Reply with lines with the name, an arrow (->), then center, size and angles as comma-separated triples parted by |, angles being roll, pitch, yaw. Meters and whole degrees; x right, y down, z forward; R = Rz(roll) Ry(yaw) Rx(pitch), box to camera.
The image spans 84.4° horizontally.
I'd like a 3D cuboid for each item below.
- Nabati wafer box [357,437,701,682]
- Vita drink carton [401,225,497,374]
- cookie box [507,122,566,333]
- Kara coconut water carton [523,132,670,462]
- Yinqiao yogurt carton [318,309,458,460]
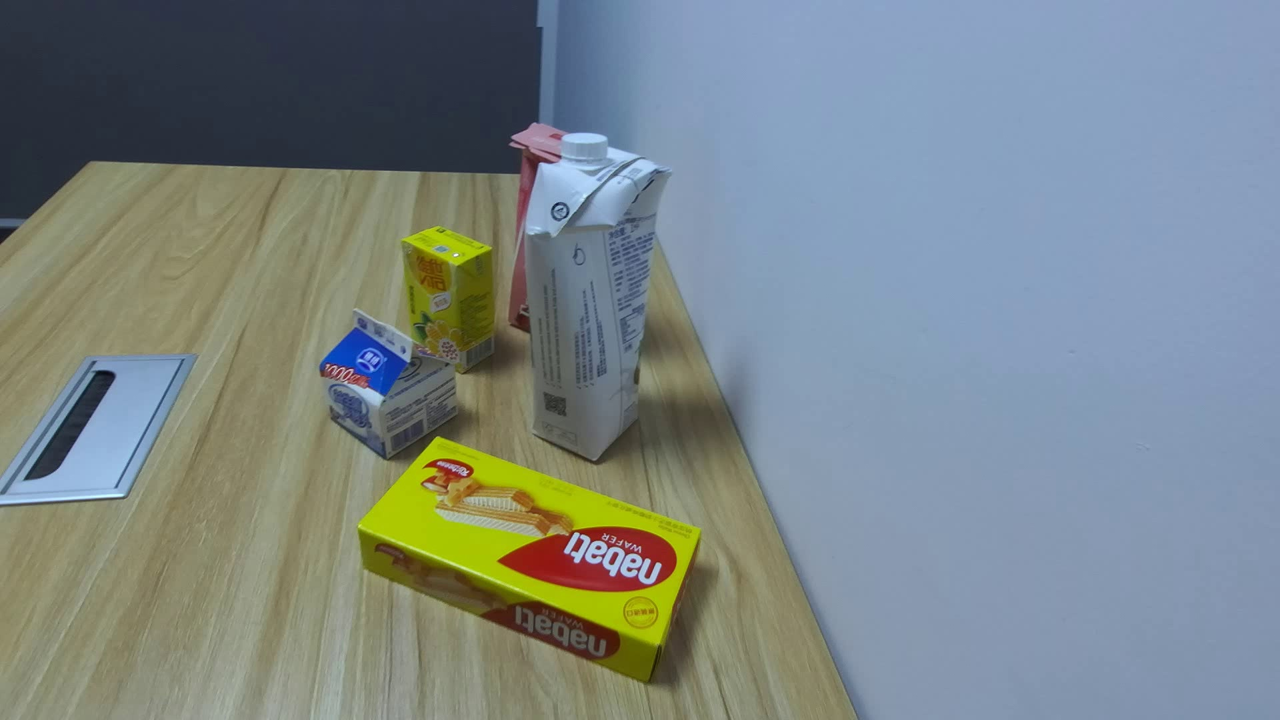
Nabati wafer box -> -0.070, 0.121, 0.458 | 0.202, 0.042, 0.093 | 17, 38, 12
Vita drink carton -> -0.169, -0.054, 0.616 | 0.076, 0.109, 0.043 | 26, 40, 24
cookie box -> -0.071, -0.105, 0.637 | 0.118, 0.184, 0.055 | 26, 38, 28
Kara coconut water carton -> -0.033, -0.042, 0.513 | 0.069, 0.238, 0.115 | 22, 39, 22
Yinqiao yogurt carton -> -0.193, 0.009, 0.543 | 0.075, 0.092, 0.074 | 27, 41, 26
